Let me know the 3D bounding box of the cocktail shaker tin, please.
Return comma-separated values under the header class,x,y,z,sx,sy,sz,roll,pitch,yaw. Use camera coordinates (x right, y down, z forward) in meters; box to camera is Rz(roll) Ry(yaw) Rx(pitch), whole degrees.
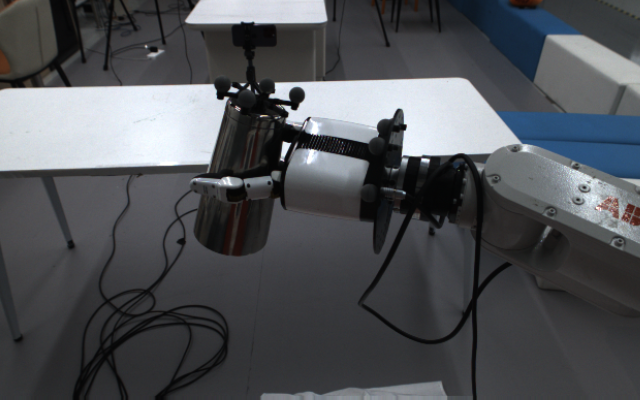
class,x,y,z,sx,sy,sz,roll,pitch,yaw
cocktail shaker tin,-0.086,-0.031,0.561,0.093,0.170,0.093,12,29,-7
